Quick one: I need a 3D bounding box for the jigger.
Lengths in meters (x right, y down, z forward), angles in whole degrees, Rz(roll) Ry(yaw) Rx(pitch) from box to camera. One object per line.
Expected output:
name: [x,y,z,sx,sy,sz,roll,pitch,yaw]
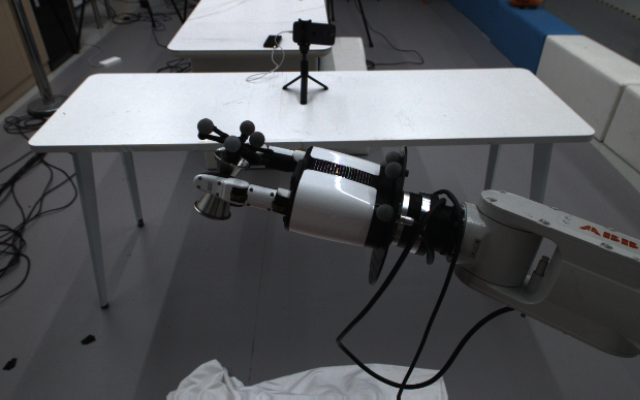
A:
jigger: [-0.110,-0.017,0.543,0.043,0.071,0.043,23,19,-8]
